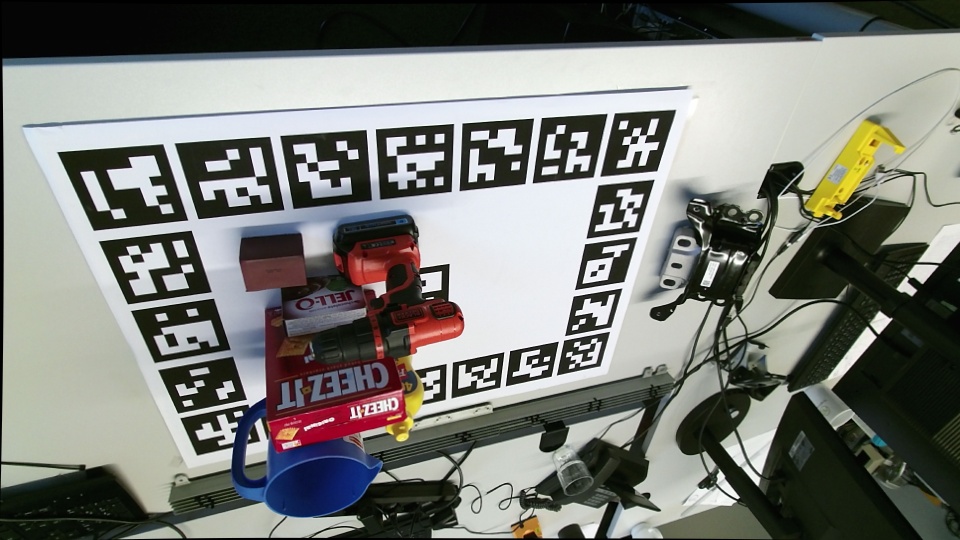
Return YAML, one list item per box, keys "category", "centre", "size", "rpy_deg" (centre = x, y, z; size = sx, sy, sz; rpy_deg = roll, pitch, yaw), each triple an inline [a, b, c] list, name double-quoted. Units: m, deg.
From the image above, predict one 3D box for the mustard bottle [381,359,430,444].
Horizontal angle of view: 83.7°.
- category: "mustard bottle"
  centre: [-0.129, 0.199, 0.817]
  size: [0.096, 0.191, 0.058]
  rpy_deg: [2, 121, -25]

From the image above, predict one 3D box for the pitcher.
- category: "pitcher"
  centre: [-0.252, 0.226, 0.770]
  size: [0.189, 0.241, 0.133]
  rpy_deg: [-5, 125, -22]

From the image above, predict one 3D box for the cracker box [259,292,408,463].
- category: "cracker box"
  centre: [-0.205, 0.133, 0.729]
  size: [0.165, 0.213, 0.072]
  rpy_deg: [-12, 129, -18]

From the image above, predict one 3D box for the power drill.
- category: "power drill"
  centre: [-0.129, 0.040, 0.674]
  size: [0.185, 0.186, 0.057]
  rpy_deg: [-10, 130, -15]

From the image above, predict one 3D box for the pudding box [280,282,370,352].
- category: "pudding box"
  centre: [-0.213, 0.062, 0.744]
  size: [0.114, 0.089, 0.038]
  rpy_deg: [-10, 128, -20]

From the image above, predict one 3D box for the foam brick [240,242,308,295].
- category: "foam brick"
  centre: [-0.275, 0.000, 0.716]
  size: [0.078, 0.051, 0.053]
  rpy_deg: [-7, 124, -18]
